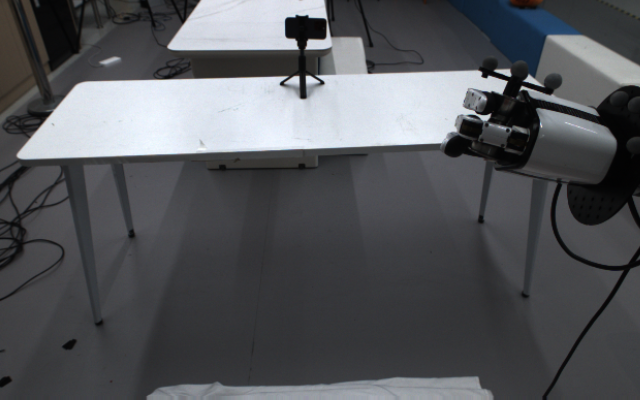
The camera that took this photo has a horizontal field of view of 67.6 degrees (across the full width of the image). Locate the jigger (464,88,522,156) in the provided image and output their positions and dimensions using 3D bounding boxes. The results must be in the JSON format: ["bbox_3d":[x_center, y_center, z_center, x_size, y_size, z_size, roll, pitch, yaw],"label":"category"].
[{"bbox_3d":[0.199,-0.084,0.548,0.043,0.071,0.043,18,17,-6],"label":"jigger"}]
